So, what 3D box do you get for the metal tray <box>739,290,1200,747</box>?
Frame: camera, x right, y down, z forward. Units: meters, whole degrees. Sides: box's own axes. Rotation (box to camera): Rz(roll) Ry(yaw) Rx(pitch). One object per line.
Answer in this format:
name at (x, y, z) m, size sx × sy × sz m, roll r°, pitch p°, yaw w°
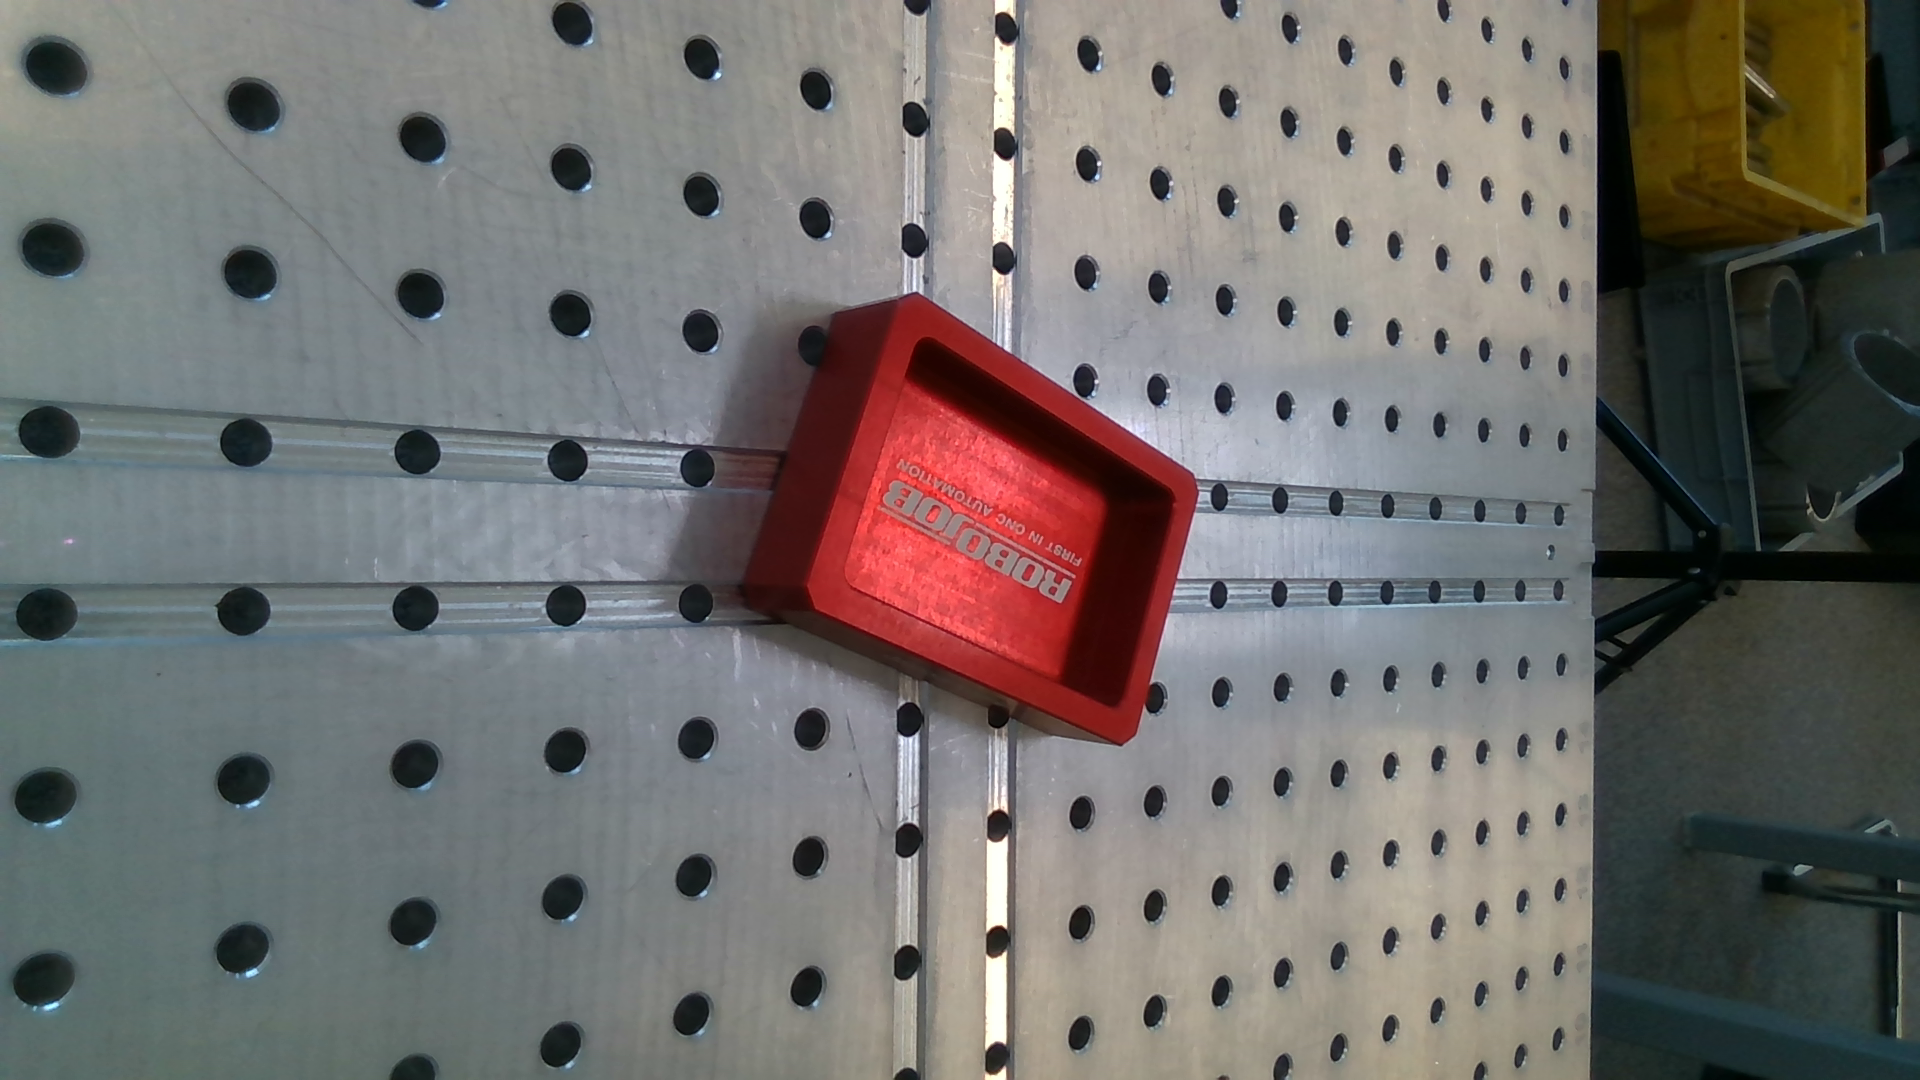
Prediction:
metal tray at (0.009, -0.002, 0.398) m, size 0.130 × 0.030 × 0.090 m, roll 27°, pitch 73°, yaw -37°
